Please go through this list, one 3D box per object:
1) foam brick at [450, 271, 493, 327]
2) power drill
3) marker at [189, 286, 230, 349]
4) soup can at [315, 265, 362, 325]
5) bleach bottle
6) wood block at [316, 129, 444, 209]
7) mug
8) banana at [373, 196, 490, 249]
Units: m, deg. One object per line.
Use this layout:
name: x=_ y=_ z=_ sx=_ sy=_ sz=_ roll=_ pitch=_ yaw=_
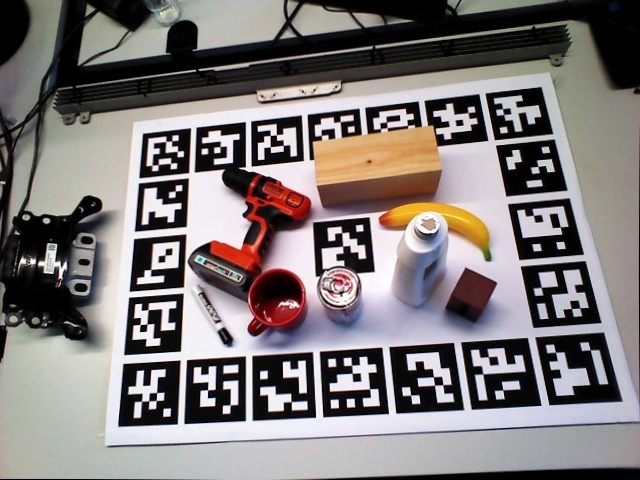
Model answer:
foam brick: x=0.237 y=0.091 z=0.793 sx=0.053 sy=0.078 sz=0.051 roll=28 pitch=73 yaw=19
power drill: x=-0.125 y=-0.019 z=0.903 sx=0.185 sy=0.057 sz=0.186 roll=24 pitch=73 yaw=13
marker: x=-0.185 y=0.130 z=0.871 sx=0.019 sy=0.019 sz=0.121 roll=-33 pitch=69 yaw=-3
soup can: x=0.031 y=0.086 z=0.803 sx=0.068 sy=0.102 sz=0.067 roll=-3 pitch=64 yaw=5
bleach bottle: x=0.146 y=0.022 z=0.738 sx=0.068 sy=0.251 sz=0.102 roll=24 pitch=72 yaw=17
wood block: x=0.103 y=-0.121 z=0.889 sx=0.207 sy=0.091 sz=0.089 roll=-6 pitch=69 yaw=6
mug: x=-0.074 y=0.105 z=0.827 sx=0.093 sy=0.081 sz=0.117 roll=38 pitch=81 yaw=17
banana: x=0.189 y=-0.038 z=0.867 sx=0.198 sy=0.039 sz=0.074 roll=11 pitch=84 yaw=10
